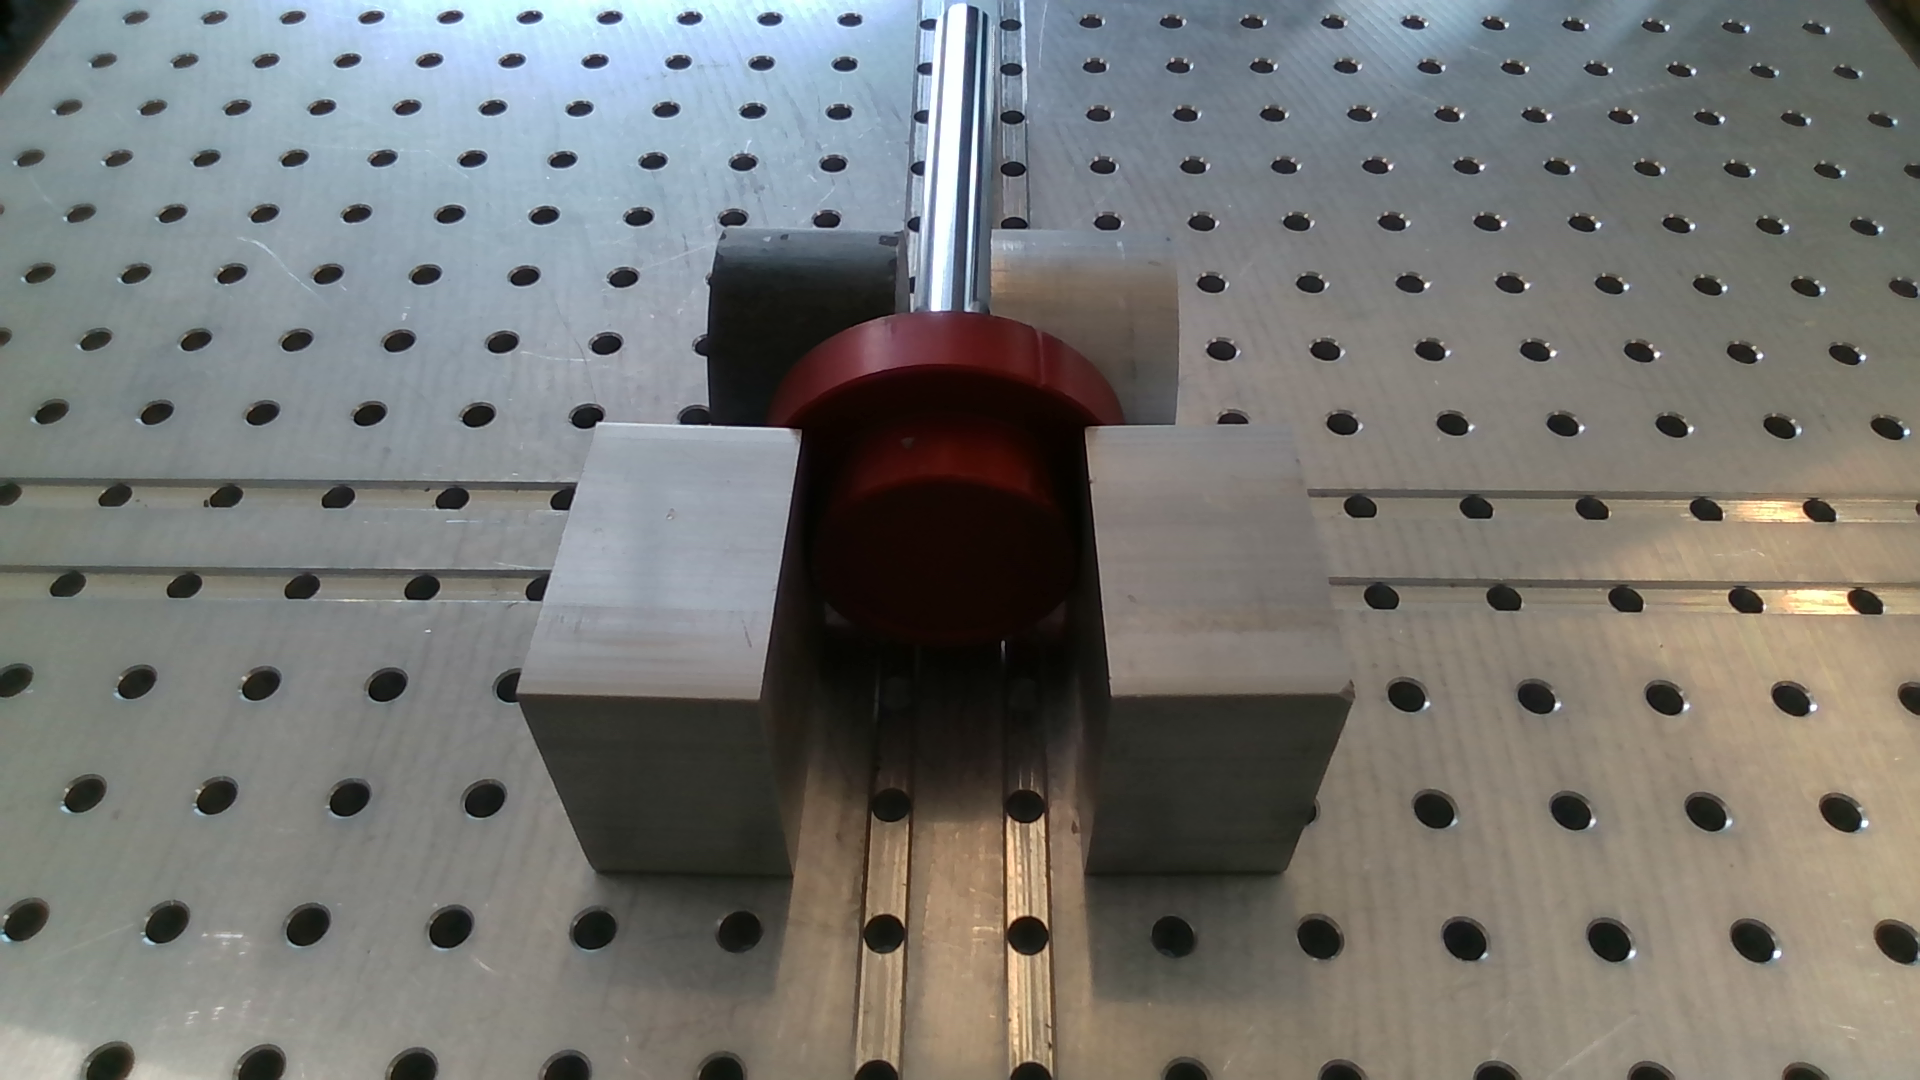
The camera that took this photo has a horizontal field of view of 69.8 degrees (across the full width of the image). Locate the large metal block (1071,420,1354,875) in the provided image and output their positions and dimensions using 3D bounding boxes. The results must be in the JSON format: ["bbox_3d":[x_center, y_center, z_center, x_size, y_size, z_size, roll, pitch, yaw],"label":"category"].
[{"bbox_3d":[0.056,0.027,0.339,0.050,0.080,0.080,0,50,0],"label":"large metal block"}]

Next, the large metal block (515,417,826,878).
[{"bbox_3d":[-0.065,0.027,0.339,0.050,0.080,0.080,2,50,2],"label":"large metal block"}]

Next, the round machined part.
[{"bbox_3d":[-0.004,-0.009,0.356,0.098,0.098,0.042,0,50,0],"label":"round machined part"}]

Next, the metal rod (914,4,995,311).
[{"bbox_3d":[-0.002,-0.103,0.468,0.025,0.025,0.299,1,46,1],"label":"metal rod"}]

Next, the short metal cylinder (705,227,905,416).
[{"bbox_3d":[-0.042,-0.051,0.403,0.050,0.080,0.080,1,50,1],"label":"short metal cylinder"}]

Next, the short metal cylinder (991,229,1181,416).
[{"bbox_3d":[0.034,-0.050,0.403,0.050,0.080,0.080,0,50,1],"label":"short metal cylinder"}]
